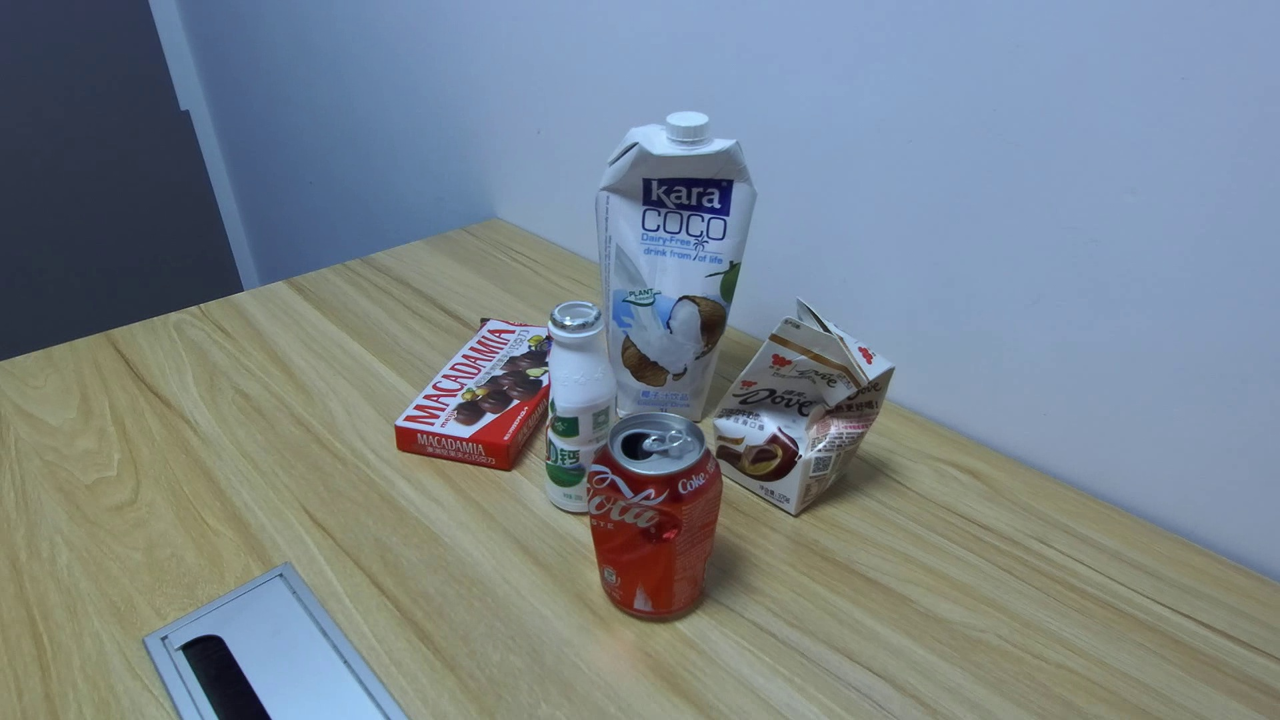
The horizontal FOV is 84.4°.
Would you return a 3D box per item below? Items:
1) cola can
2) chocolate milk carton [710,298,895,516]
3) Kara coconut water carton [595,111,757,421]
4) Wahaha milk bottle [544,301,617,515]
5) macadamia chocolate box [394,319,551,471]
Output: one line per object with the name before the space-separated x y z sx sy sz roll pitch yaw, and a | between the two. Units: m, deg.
cola can | 0.010 0.090 0.409 0.065 0.117 0.067 24 38 33
chocolate milk carton | 0.111 0.030 0.483 0.089 0.155 0.077 36 48 22
Kara coconut water carton | 0.022 -0.066 0.539 0.115 0.238 0.069 3 31 -2
Wahaha milk bottle | -0.041 0.033 0.467 0.056 0.148 0.056 1 32 0
macadamia chocolate box | -0.118 0.020 0.599 0.105 0.028 0.183 9 33 10
